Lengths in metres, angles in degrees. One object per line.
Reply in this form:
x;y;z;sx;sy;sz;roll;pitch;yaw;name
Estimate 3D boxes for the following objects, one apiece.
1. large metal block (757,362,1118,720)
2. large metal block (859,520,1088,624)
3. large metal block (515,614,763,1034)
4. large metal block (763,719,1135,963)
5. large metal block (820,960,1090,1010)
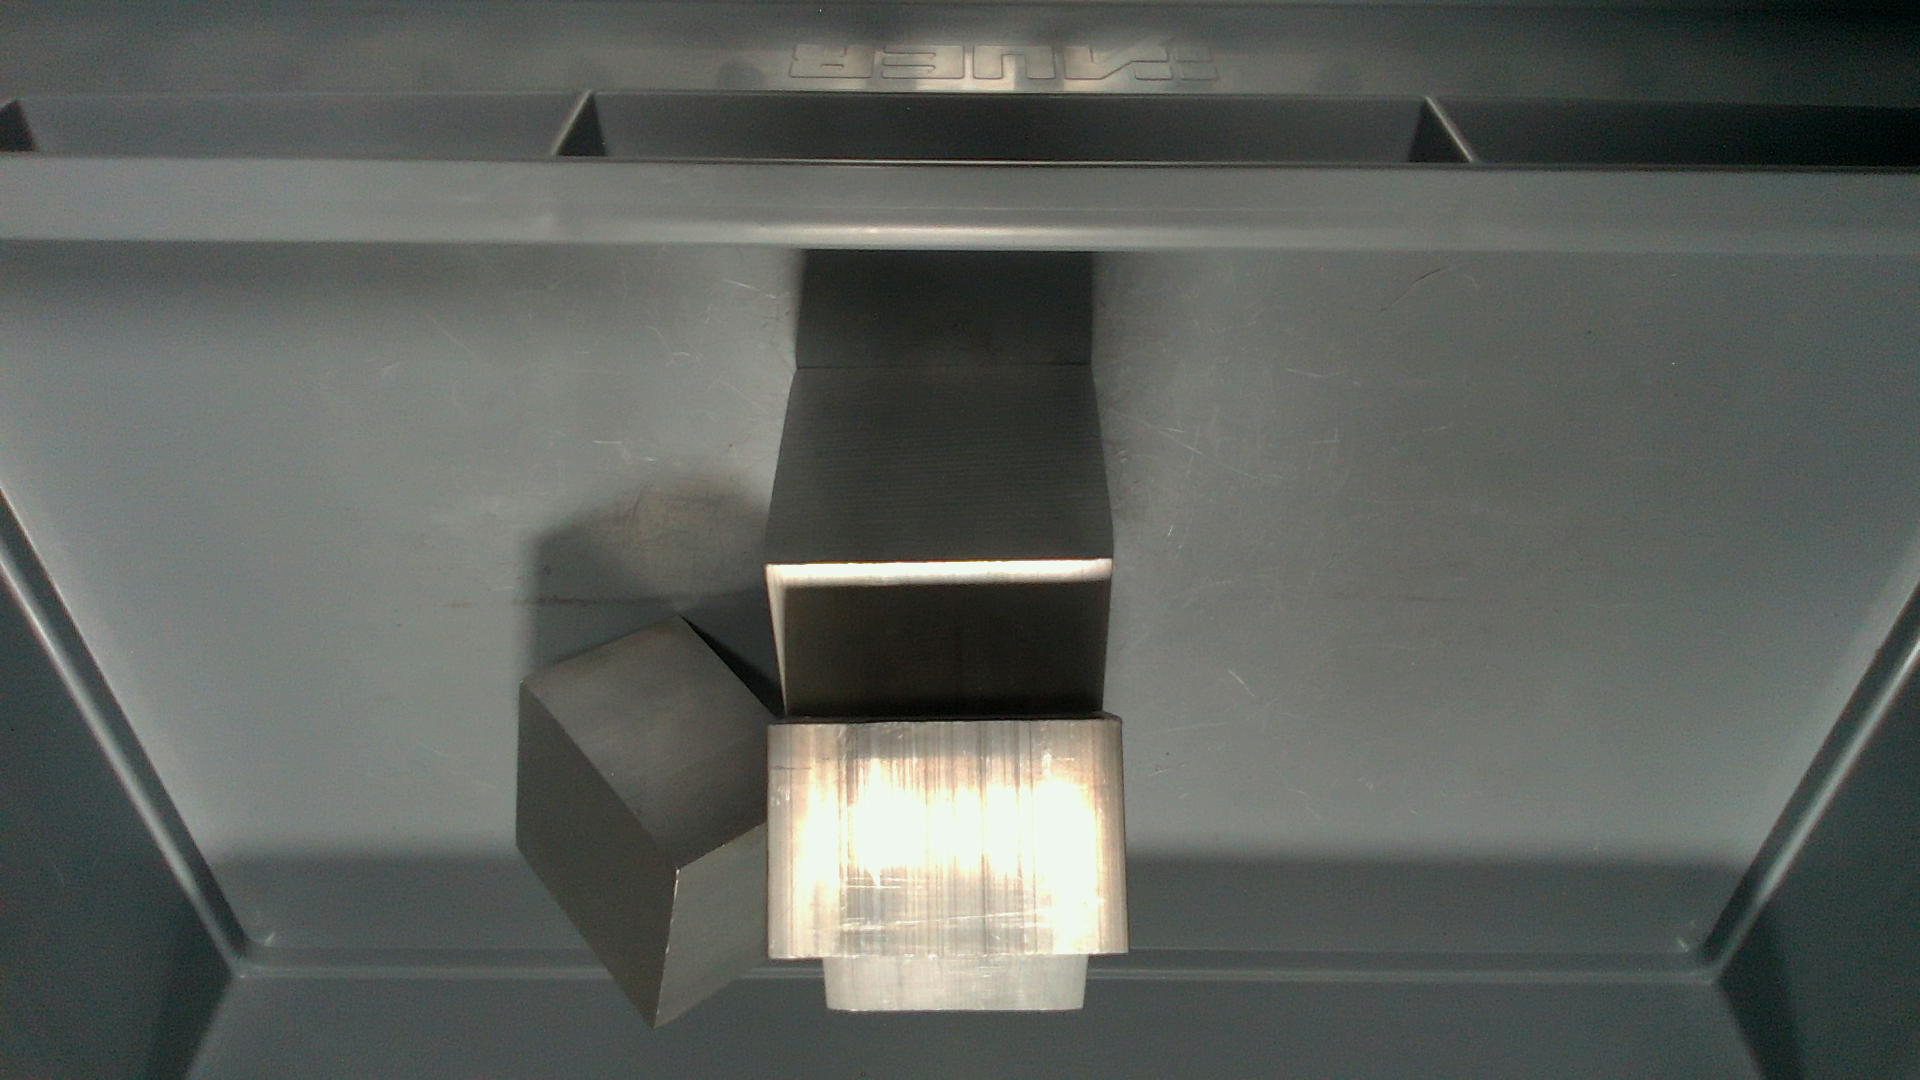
-0.004;-0.001;0.351;0.080;0.080;0.050;-1;130;1;large metal block
-0.004;0.037;0.406;0.080;0.050;0.080;-1;130;0;large metal block
-0.090;0.084;0.413;0.050;0.080;0.080;-24;144;-38;large metal block
-0.002;0.069;0.338;0.080;0.080;0.050;-1;85;1;large metal block
-0.002;0.099;0.436;0.080;0.080;0.050;0;130;0;large metal block
